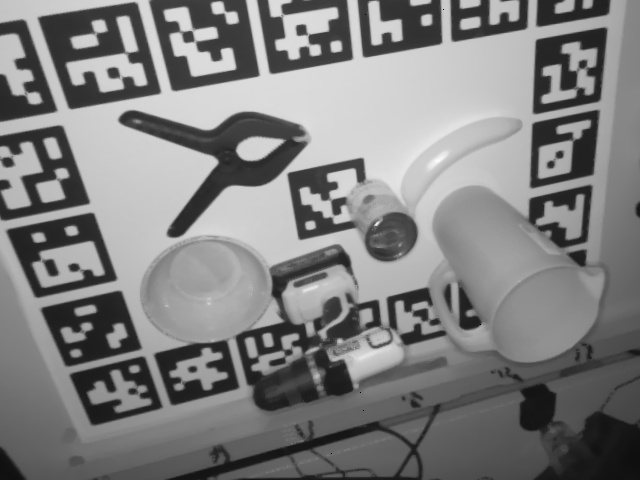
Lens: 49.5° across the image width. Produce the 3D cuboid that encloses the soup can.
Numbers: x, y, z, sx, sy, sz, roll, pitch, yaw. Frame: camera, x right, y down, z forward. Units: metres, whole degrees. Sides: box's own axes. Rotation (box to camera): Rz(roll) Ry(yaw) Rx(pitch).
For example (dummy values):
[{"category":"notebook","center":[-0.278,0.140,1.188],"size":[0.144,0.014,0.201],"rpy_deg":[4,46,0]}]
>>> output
[{"category":"soup can","center":[0.116,-0.012,0.854],"size":[0.068,0.102,0.067],"rpy_deg":[-8,127,-10]}]

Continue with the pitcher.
[{"category":"pitcher","center":[0.255,0.050,0.839],"size":[0.188,0.243,0.133],"rpy_deg":[-33,123,5]}]

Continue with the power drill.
[{"category":"power drill","center":[0.025,0.125,0.830],"size":[0.185,0.187,0.057],"rpy_deg":[-16,120,-4]}]

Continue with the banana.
[{"category":"banana","center":[0.224,-0.095,0.876],"size":[0.197,0.039,0.074],"rpy_deg":[-33,128,6]}]

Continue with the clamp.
[{"category":"clamp","center":[-0.067,-0.091,0.795],"size":[0.204,0.036,0.164],"rpy_deg":[-14,115,-7]}]

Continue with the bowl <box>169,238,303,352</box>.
[{"category":"bowl","center":[-0.105,0.058,0.860],"size":[0.163,0.055,0.160],"rpy_deg":[-6,117,-11]}]
